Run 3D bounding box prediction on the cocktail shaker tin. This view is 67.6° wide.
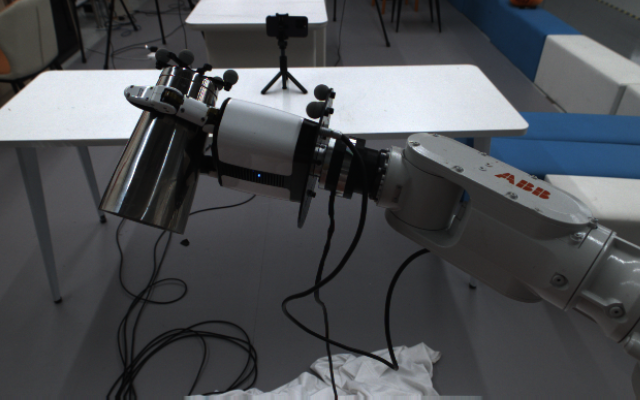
[{"bbox_3d":[-0.167,-0.057,0.539,0.093,0.093,0.170,13,79,15],"label":"cocktail shaker tin"}]
